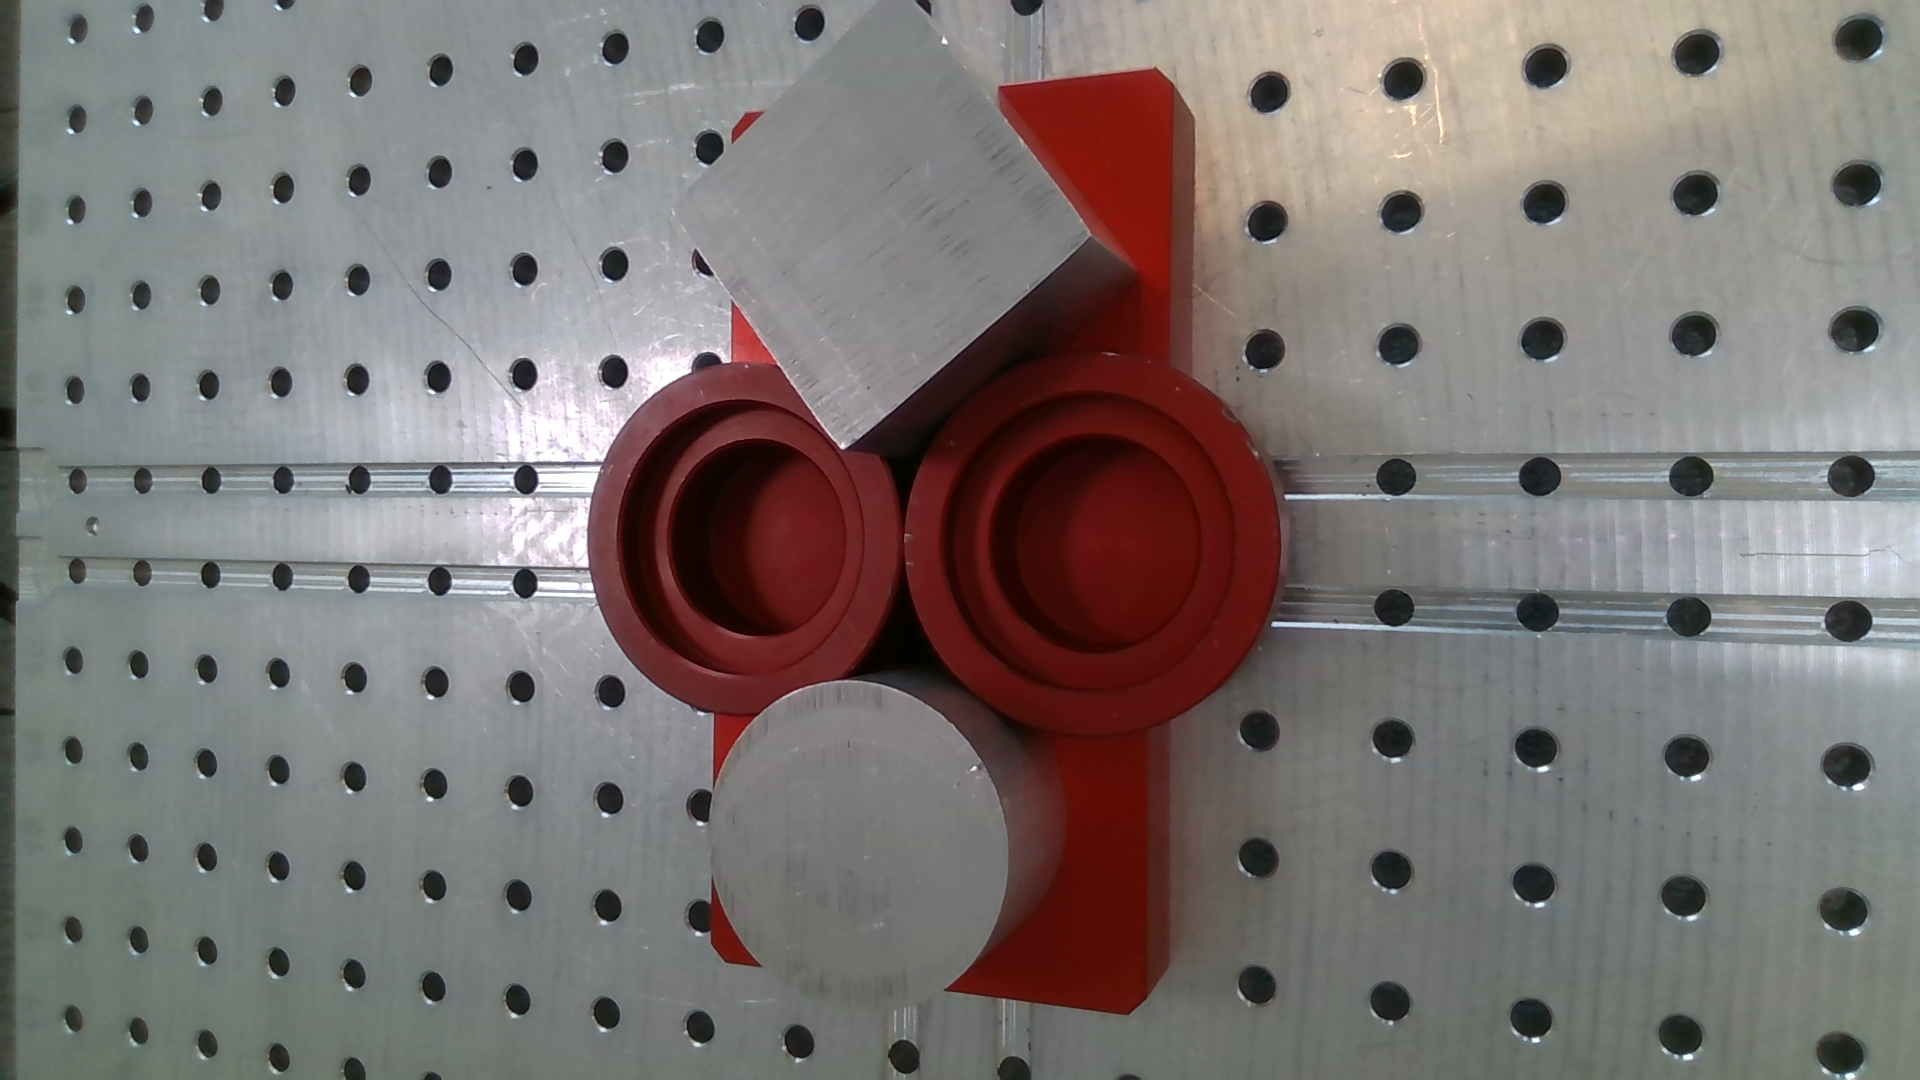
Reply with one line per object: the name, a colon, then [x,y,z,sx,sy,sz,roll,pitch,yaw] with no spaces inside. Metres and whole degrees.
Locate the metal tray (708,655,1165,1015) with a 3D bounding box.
metal tray: [-0.008,0.079,0.395,0.130,0.030,0.090,1,91,20]

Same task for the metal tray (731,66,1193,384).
metal tray: [-0.001,-0.079,0.393,0.130,0.030,0.090,0,92,20]

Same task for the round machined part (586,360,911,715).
round machined part: [-0.055,0.000,0.398,0.098,0.042,0.098,0,90,20]

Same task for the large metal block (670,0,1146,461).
large metal block: [-0.013,-0.077,0.355,0.080,0.050,0.080,-39,78,16]

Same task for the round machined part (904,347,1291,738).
round machined part: [0.038,0.001,0.364,0.098,0.042,0.098,0,90,20]

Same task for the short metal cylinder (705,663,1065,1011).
short metal cylinder: [-0.018,0.074,0.358,0.080,0.050,0.080,0,90,20]
